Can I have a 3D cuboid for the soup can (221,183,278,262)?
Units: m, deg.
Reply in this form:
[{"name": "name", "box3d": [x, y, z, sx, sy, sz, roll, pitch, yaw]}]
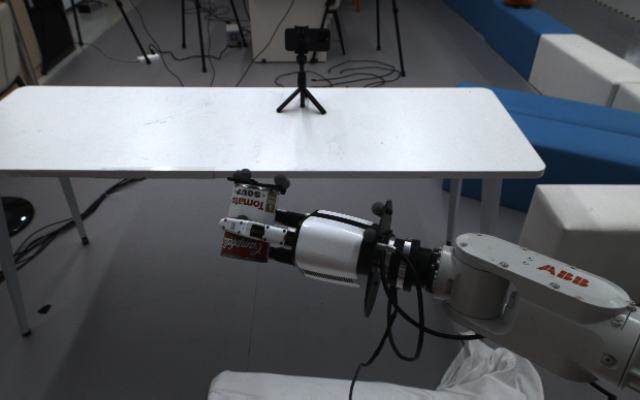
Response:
[{"name": "soup can", "box3d": [-0.097, 0.033, 0.684, 0.067, 0.101, 0.067, 9, -5, 1]}]
